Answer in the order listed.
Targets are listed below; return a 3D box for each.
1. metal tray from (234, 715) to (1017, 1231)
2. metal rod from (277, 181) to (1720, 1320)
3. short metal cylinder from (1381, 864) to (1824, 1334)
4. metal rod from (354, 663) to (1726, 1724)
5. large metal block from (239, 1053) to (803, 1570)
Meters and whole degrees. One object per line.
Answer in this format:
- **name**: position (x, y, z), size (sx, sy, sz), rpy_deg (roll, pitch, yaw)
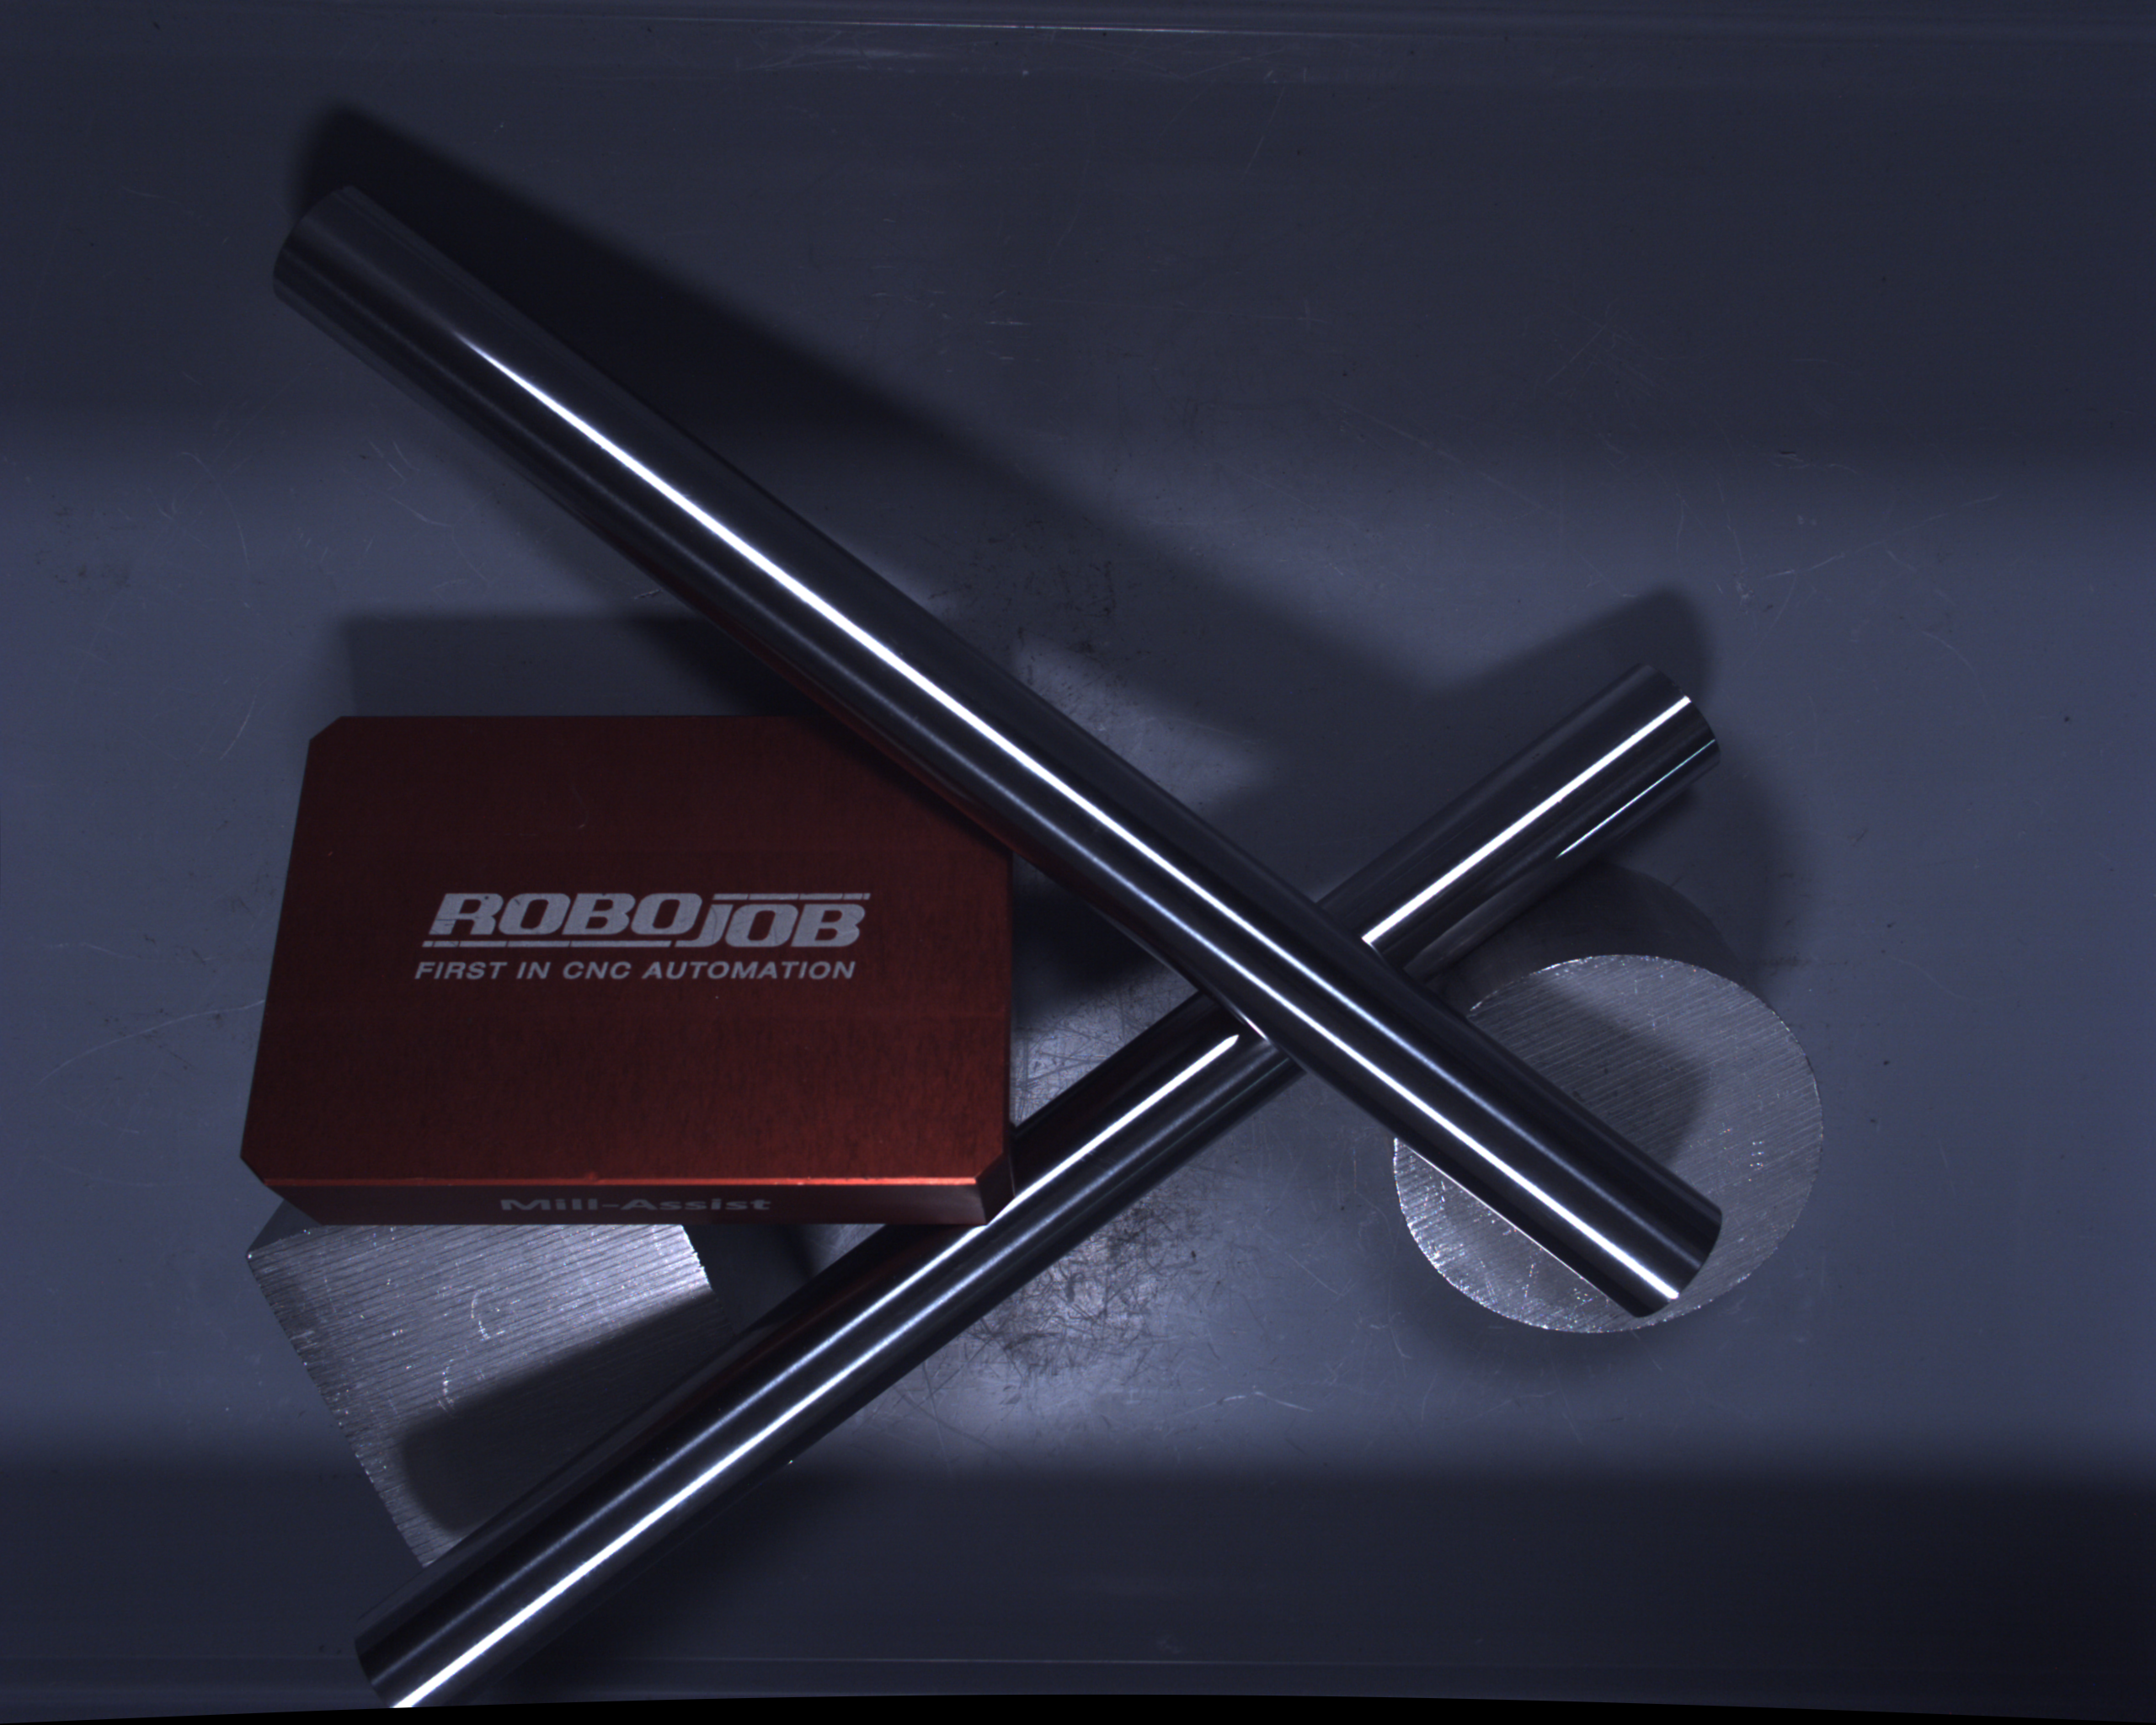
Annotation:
- **metal tray**: position (-0.078, 0.020, 0.384), size (0.131, 0.030, 0.090), rpy_deg (1, 66, 0)
- **metal rod**: position (-0.014, -0.019, 0.371), size (0.301, 0.025, 0.025), rpy_deg (37, 106, 0)
- **short metal cylinder**: position (0.099, 0.045, 0.414), size (0.081, 0.050, 0.079), rpy_deg (0, 110, -1)
- **metal rod**: position (-0.005, 0.061, 0.393), size (0.301, 0.025, 0.025), rpy_deg (-37, 107, -3)
- **large metal block**: position (-0.106, 0.088, 0.424), size (0.080, 0.050, 0.080), rpy_deg (-18, 109, 6)
